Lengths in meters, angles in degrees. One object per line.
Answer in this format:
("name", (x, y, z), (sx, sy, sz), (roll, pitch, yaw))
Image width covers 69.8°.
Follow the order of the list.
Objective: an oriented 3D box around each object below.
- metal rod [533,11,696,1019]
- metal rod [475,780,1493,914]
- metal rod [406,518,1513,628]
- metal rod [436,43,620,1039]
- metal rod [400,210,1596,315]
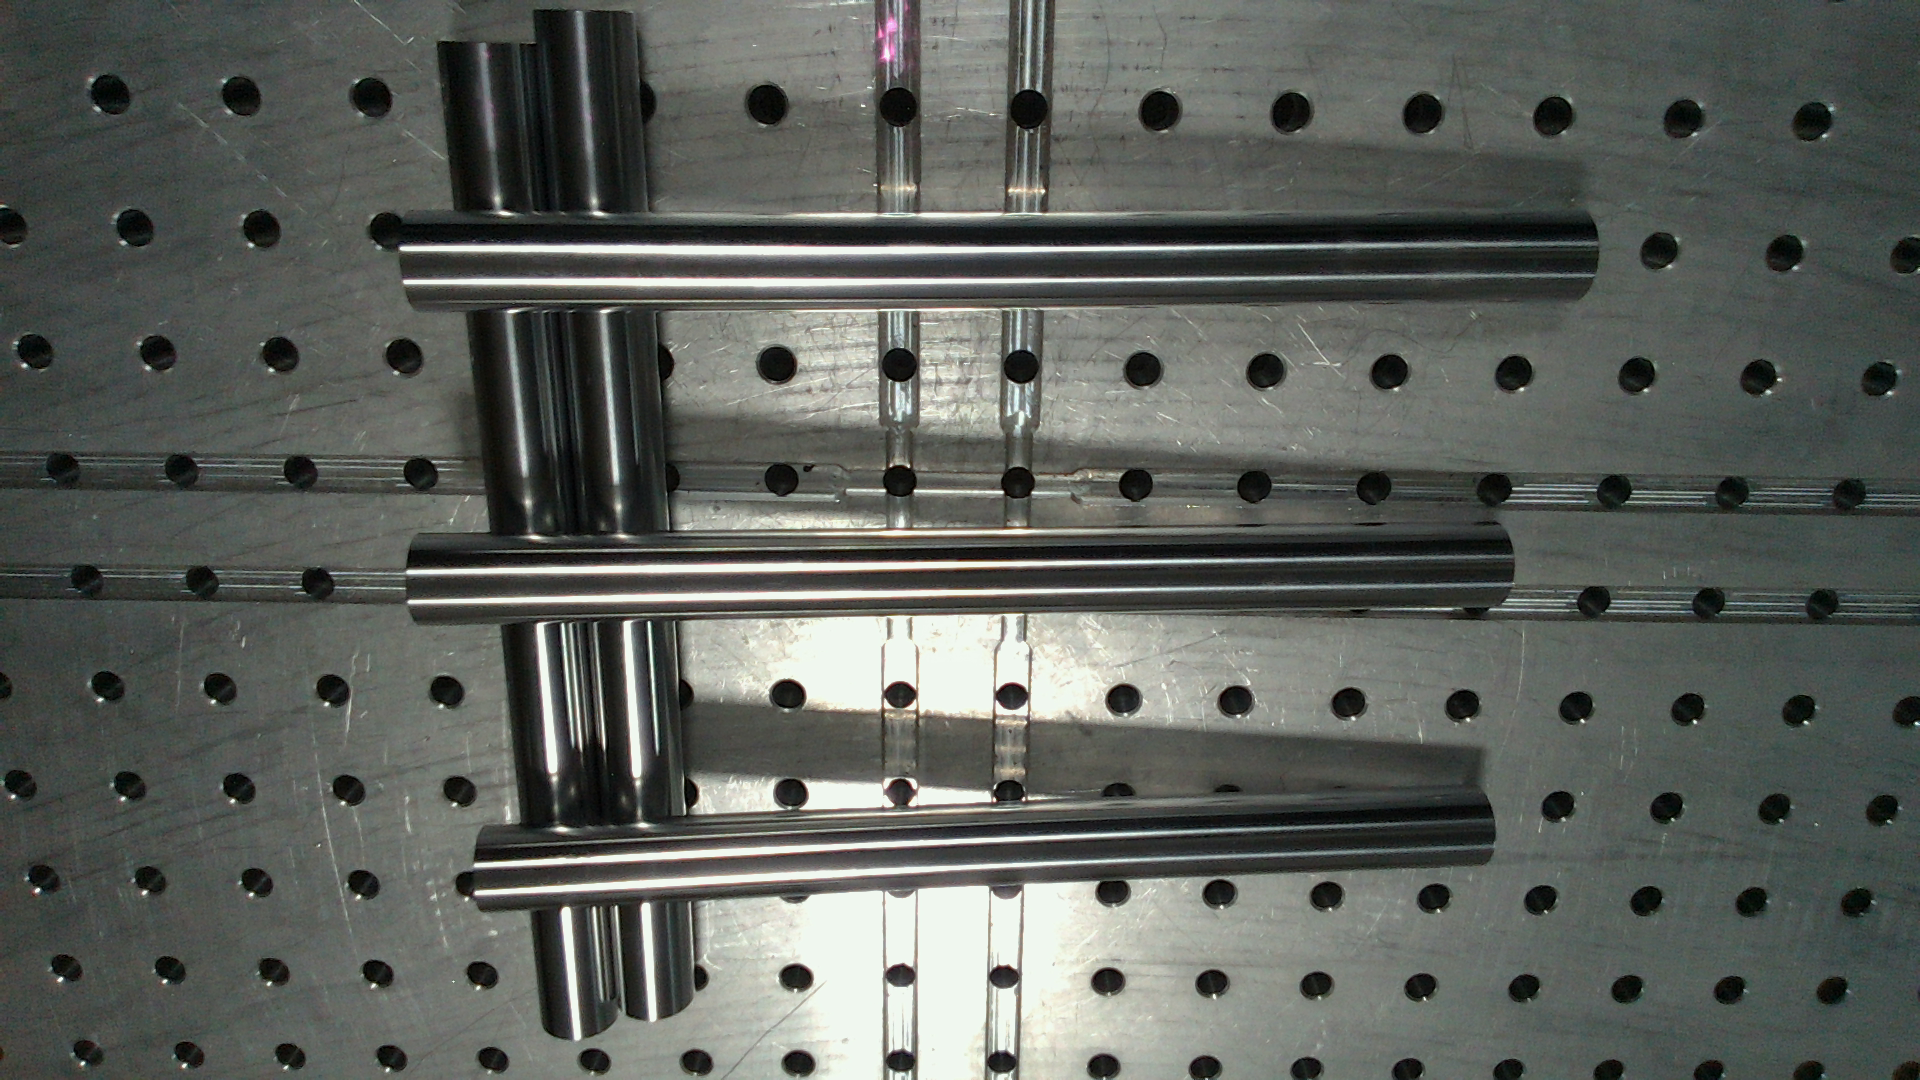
("metal rod", (-0.097, 0.008, 0.398), (0.025, 0.025, 0.300), (1, 110, 0))
("metal rod", (0.012, 0.092, 0.415), (0.300, 0.025, 0.025), (-2, 110, -6))
("metal rod", (0.005, 0.009, 0.383), (0.300, 0.025, 0.025), (-1, 110, -6))
("metal rod", (-0.122, 0.015, 0.401), (0.025, 0.025, 0.300), (1, 110, 0))
("metal rod", (0.015, -0.072, 0.354), (0.300, 0.025, 0.025), (-2, 110, -6))
